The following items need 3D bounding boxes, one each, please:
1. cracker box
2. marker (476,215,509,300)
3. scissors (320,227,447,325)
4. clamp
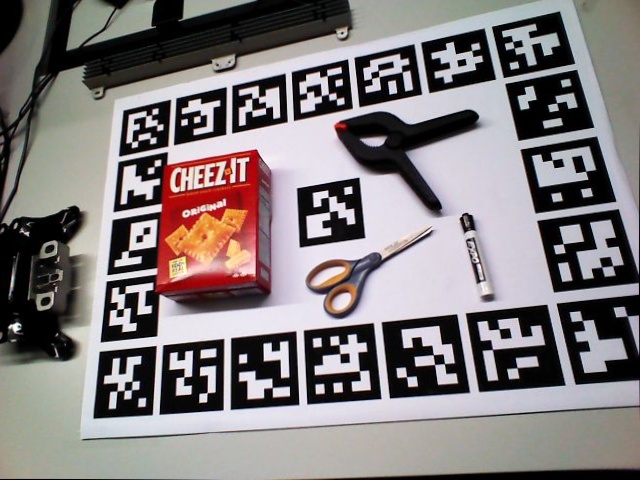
[{"bbox_3d":[-0.141,-0.014,0.796,0.165,0.072,0.212,-7,68,14],"label":"cracker box"},{"bbox_3d":[0.232,0.021,0.698,0.020,0.019,0.120,-12,66,12],"label":"marker"},{"bbox_3d":[0.094,0.037,0.734,0.203,0.016,0.087,-34,63,-1],"label":"scissors"},{"bbox_3d":[0.135,-0.141,0.797,0.203,0.036,0.164,22,76,22],"label":"clamp"}]
